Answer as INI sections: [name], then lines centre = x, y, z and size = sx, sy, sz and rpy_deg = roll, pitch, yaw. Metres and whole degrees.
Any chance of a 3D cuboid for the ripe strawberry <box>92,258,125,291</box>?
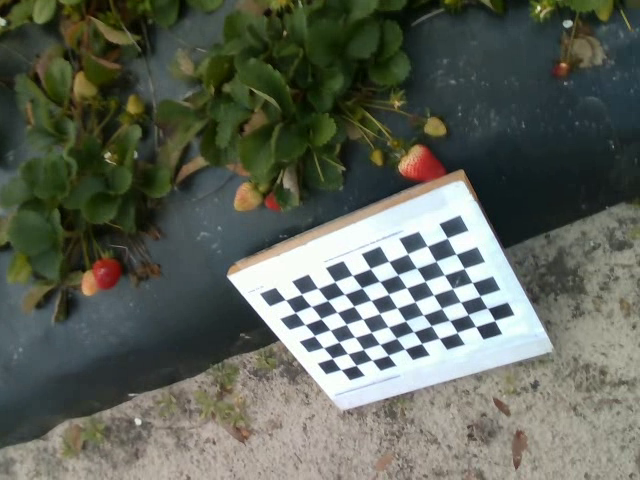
[ripe strawberry]
centre = -0.251, 0.040, 0.735
size = 0.034, 0.042, 0.033
rpy_deg = 4, -22, 5
